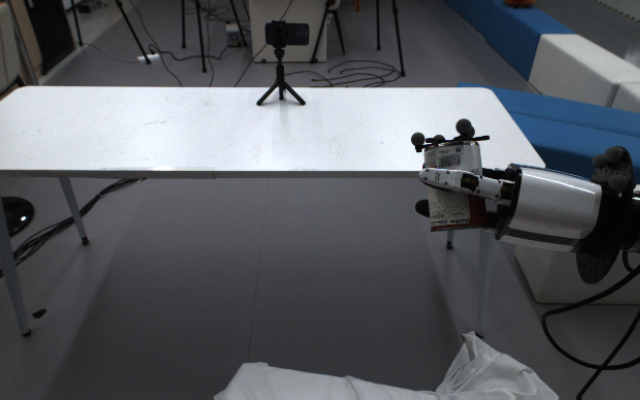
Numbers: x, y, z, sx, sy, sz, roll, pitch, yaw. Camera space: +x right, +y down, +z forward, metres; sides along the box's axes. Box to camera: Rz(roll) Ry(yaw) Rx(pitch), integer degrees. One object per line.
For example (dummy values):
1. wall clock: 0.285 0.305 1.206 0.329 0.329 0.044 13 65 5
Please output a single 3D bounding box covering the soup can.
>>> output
1. soup can: 0.166 -0.015 0.586 0.067 0.101 0.067 -4 -5 0
